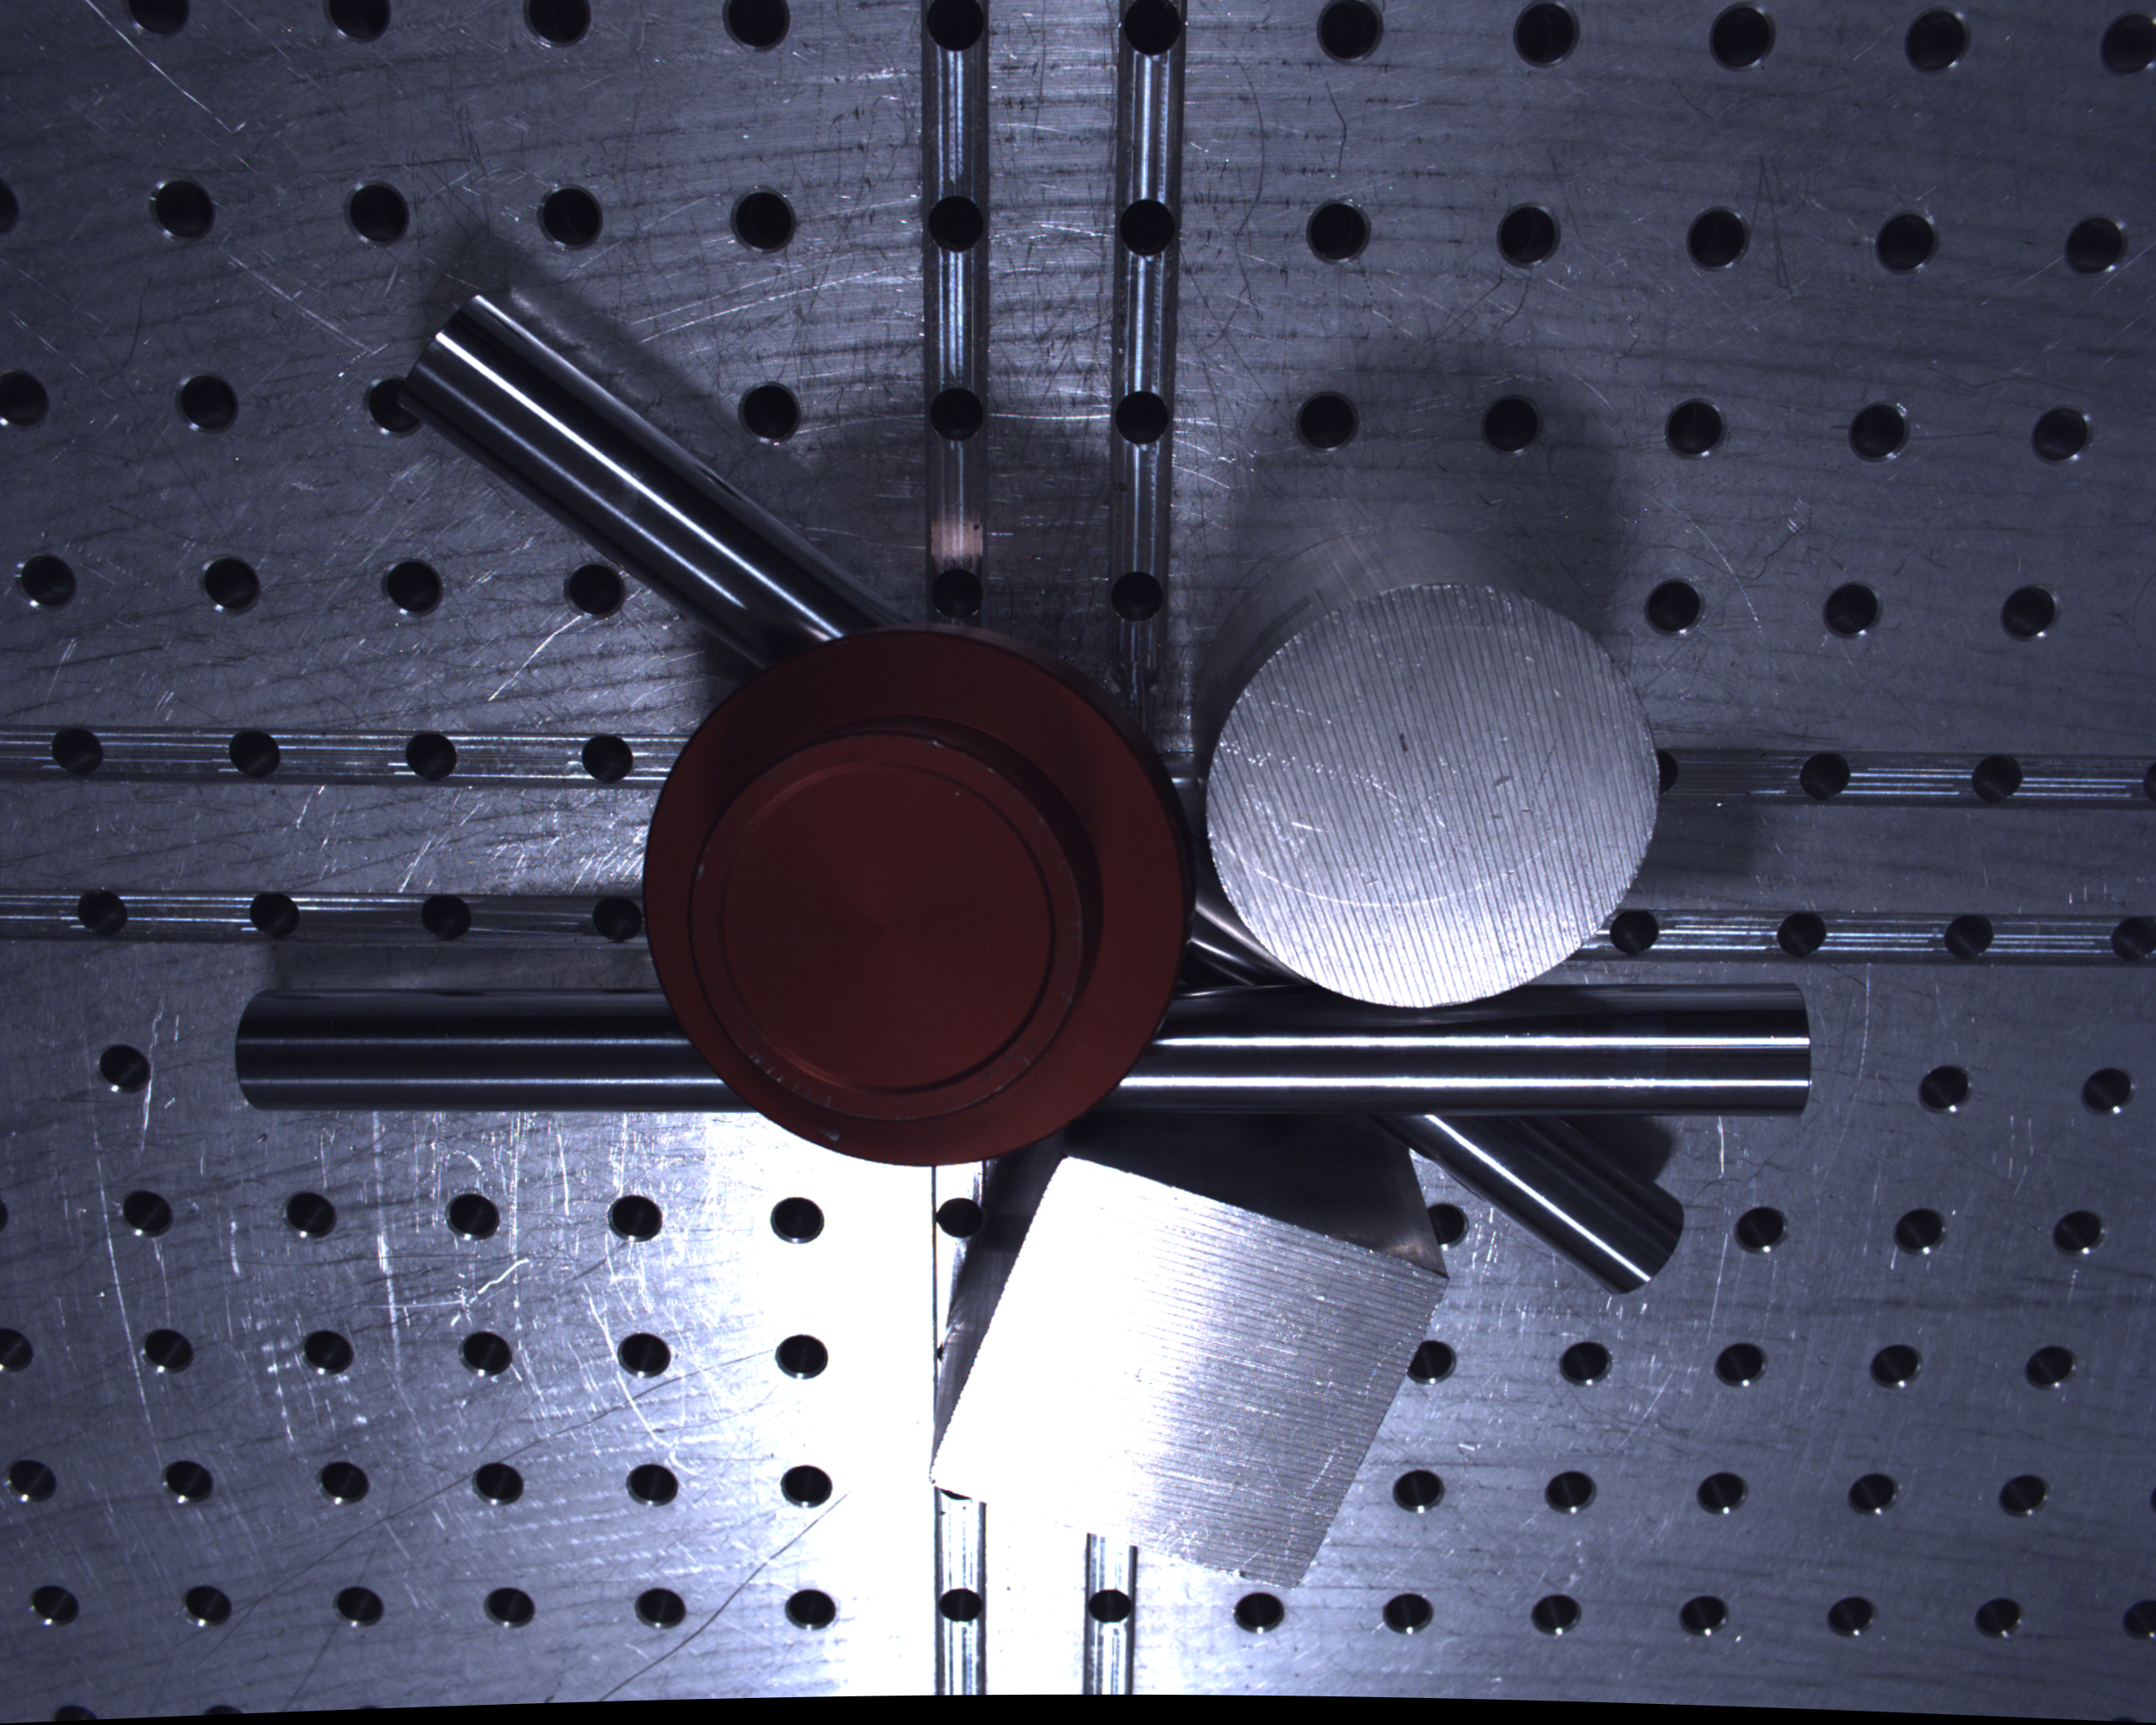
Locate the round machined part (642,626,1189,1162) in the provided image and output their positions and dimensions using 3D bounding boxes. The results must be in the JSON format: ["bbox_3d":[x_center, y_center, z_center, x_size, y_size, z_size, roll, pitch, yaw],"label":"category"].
[{"bbox_3d":[-0.030,0.007,0.371,0.099,0.042,0.097,1,102,5],"label":"round machined part"}]

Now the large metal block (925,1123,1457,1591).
[{"bbox_3d":[0.021,0.093,0.432,0.080,0.050,0.079,19,109,-7],"label":"large metal block"}]

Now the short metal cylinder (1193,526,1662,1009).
[{"bbox_3d":[0.063,-0.019,0.393,0.081,0.050,0.079,0,110,-1],"label":"short metal cylinder"}]

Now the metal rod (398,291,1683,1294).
[{"bbox_3d":[0.002,-0.006,0.411,0.301,0.025,0.025,37,106,-13],"label":"metal rod"}]

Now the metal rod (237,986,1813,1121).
[{"bbox_3d":[-0.015,0.037,0.407,0.302,0.025,0.025,0,110,7],"label":"metal rod"}]
